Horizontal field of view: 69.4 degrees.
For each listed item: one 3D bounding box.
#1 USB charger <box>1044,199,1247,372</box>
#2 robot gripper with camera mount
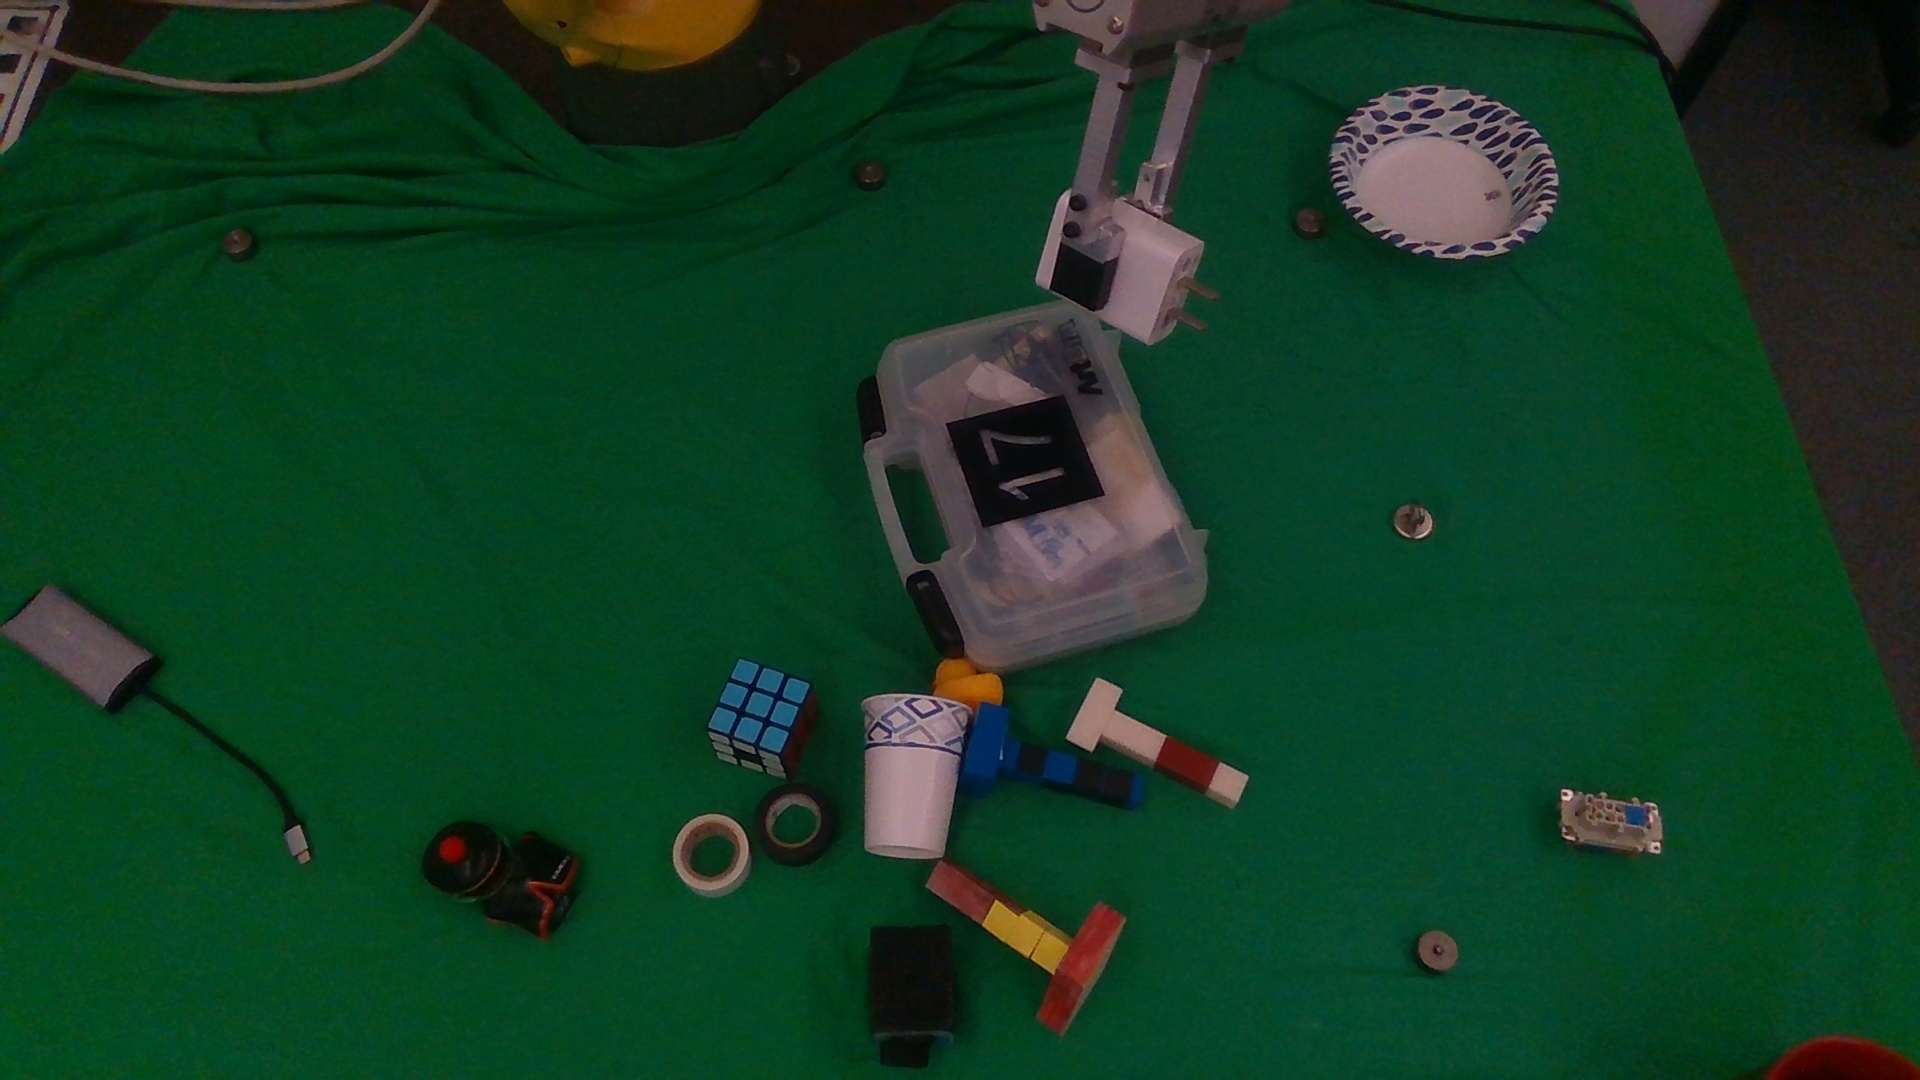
[{"bbox_3d":[0.068,-0.089,0.500,0.076,0.045,0.029,36,41,24],"label":"USB charger"},{"bbox_3d":[0.014,-0.185,0.510,0.194,0.158,0.118,31,38,32],"label":"robot gripper with camera mount"}]
